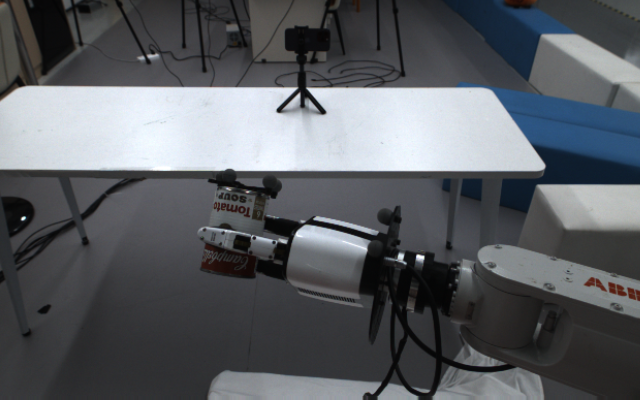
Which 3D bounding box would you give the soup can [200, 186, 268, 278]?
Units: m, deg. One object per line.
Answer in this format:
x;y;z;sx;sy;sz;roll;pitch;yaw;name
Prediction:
-0.101;0.040;0.588;0.067;0.101;0.067;9;-5;1;soup can
